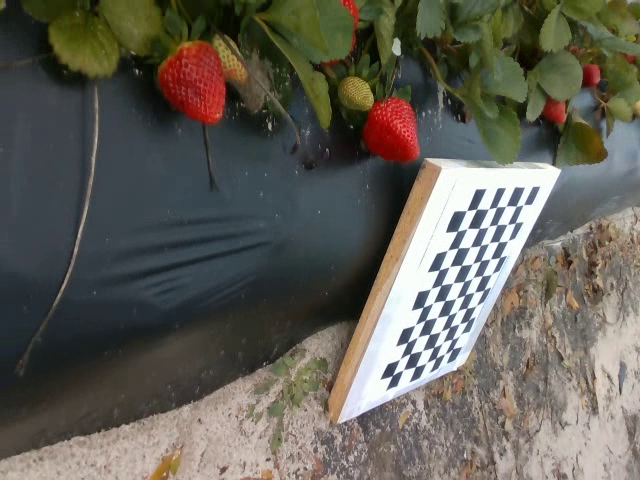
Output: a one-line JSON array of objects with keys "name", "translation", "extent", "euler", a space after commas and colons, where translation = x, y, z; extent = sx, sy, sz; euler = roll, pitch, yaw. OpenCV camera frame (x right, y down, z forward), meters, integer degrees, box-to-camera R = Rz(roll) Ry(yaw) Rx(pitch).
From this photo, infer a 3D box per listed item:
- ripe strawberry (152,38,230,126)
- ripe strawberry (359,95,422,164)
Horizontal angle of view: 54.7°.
[{"name": "ripe strawberry", "translation": [-0.069, -0.089, 0.353], "extent": [0.043, 0.052, 0.041], "euler": [-23, -1, -33]}, {"name": "ripe strawberry", "translation": [0.065, -0.085, 0.501], "extent": [0.057, 0.065, 0.056], "euler": [-27, -39, -9]}]
